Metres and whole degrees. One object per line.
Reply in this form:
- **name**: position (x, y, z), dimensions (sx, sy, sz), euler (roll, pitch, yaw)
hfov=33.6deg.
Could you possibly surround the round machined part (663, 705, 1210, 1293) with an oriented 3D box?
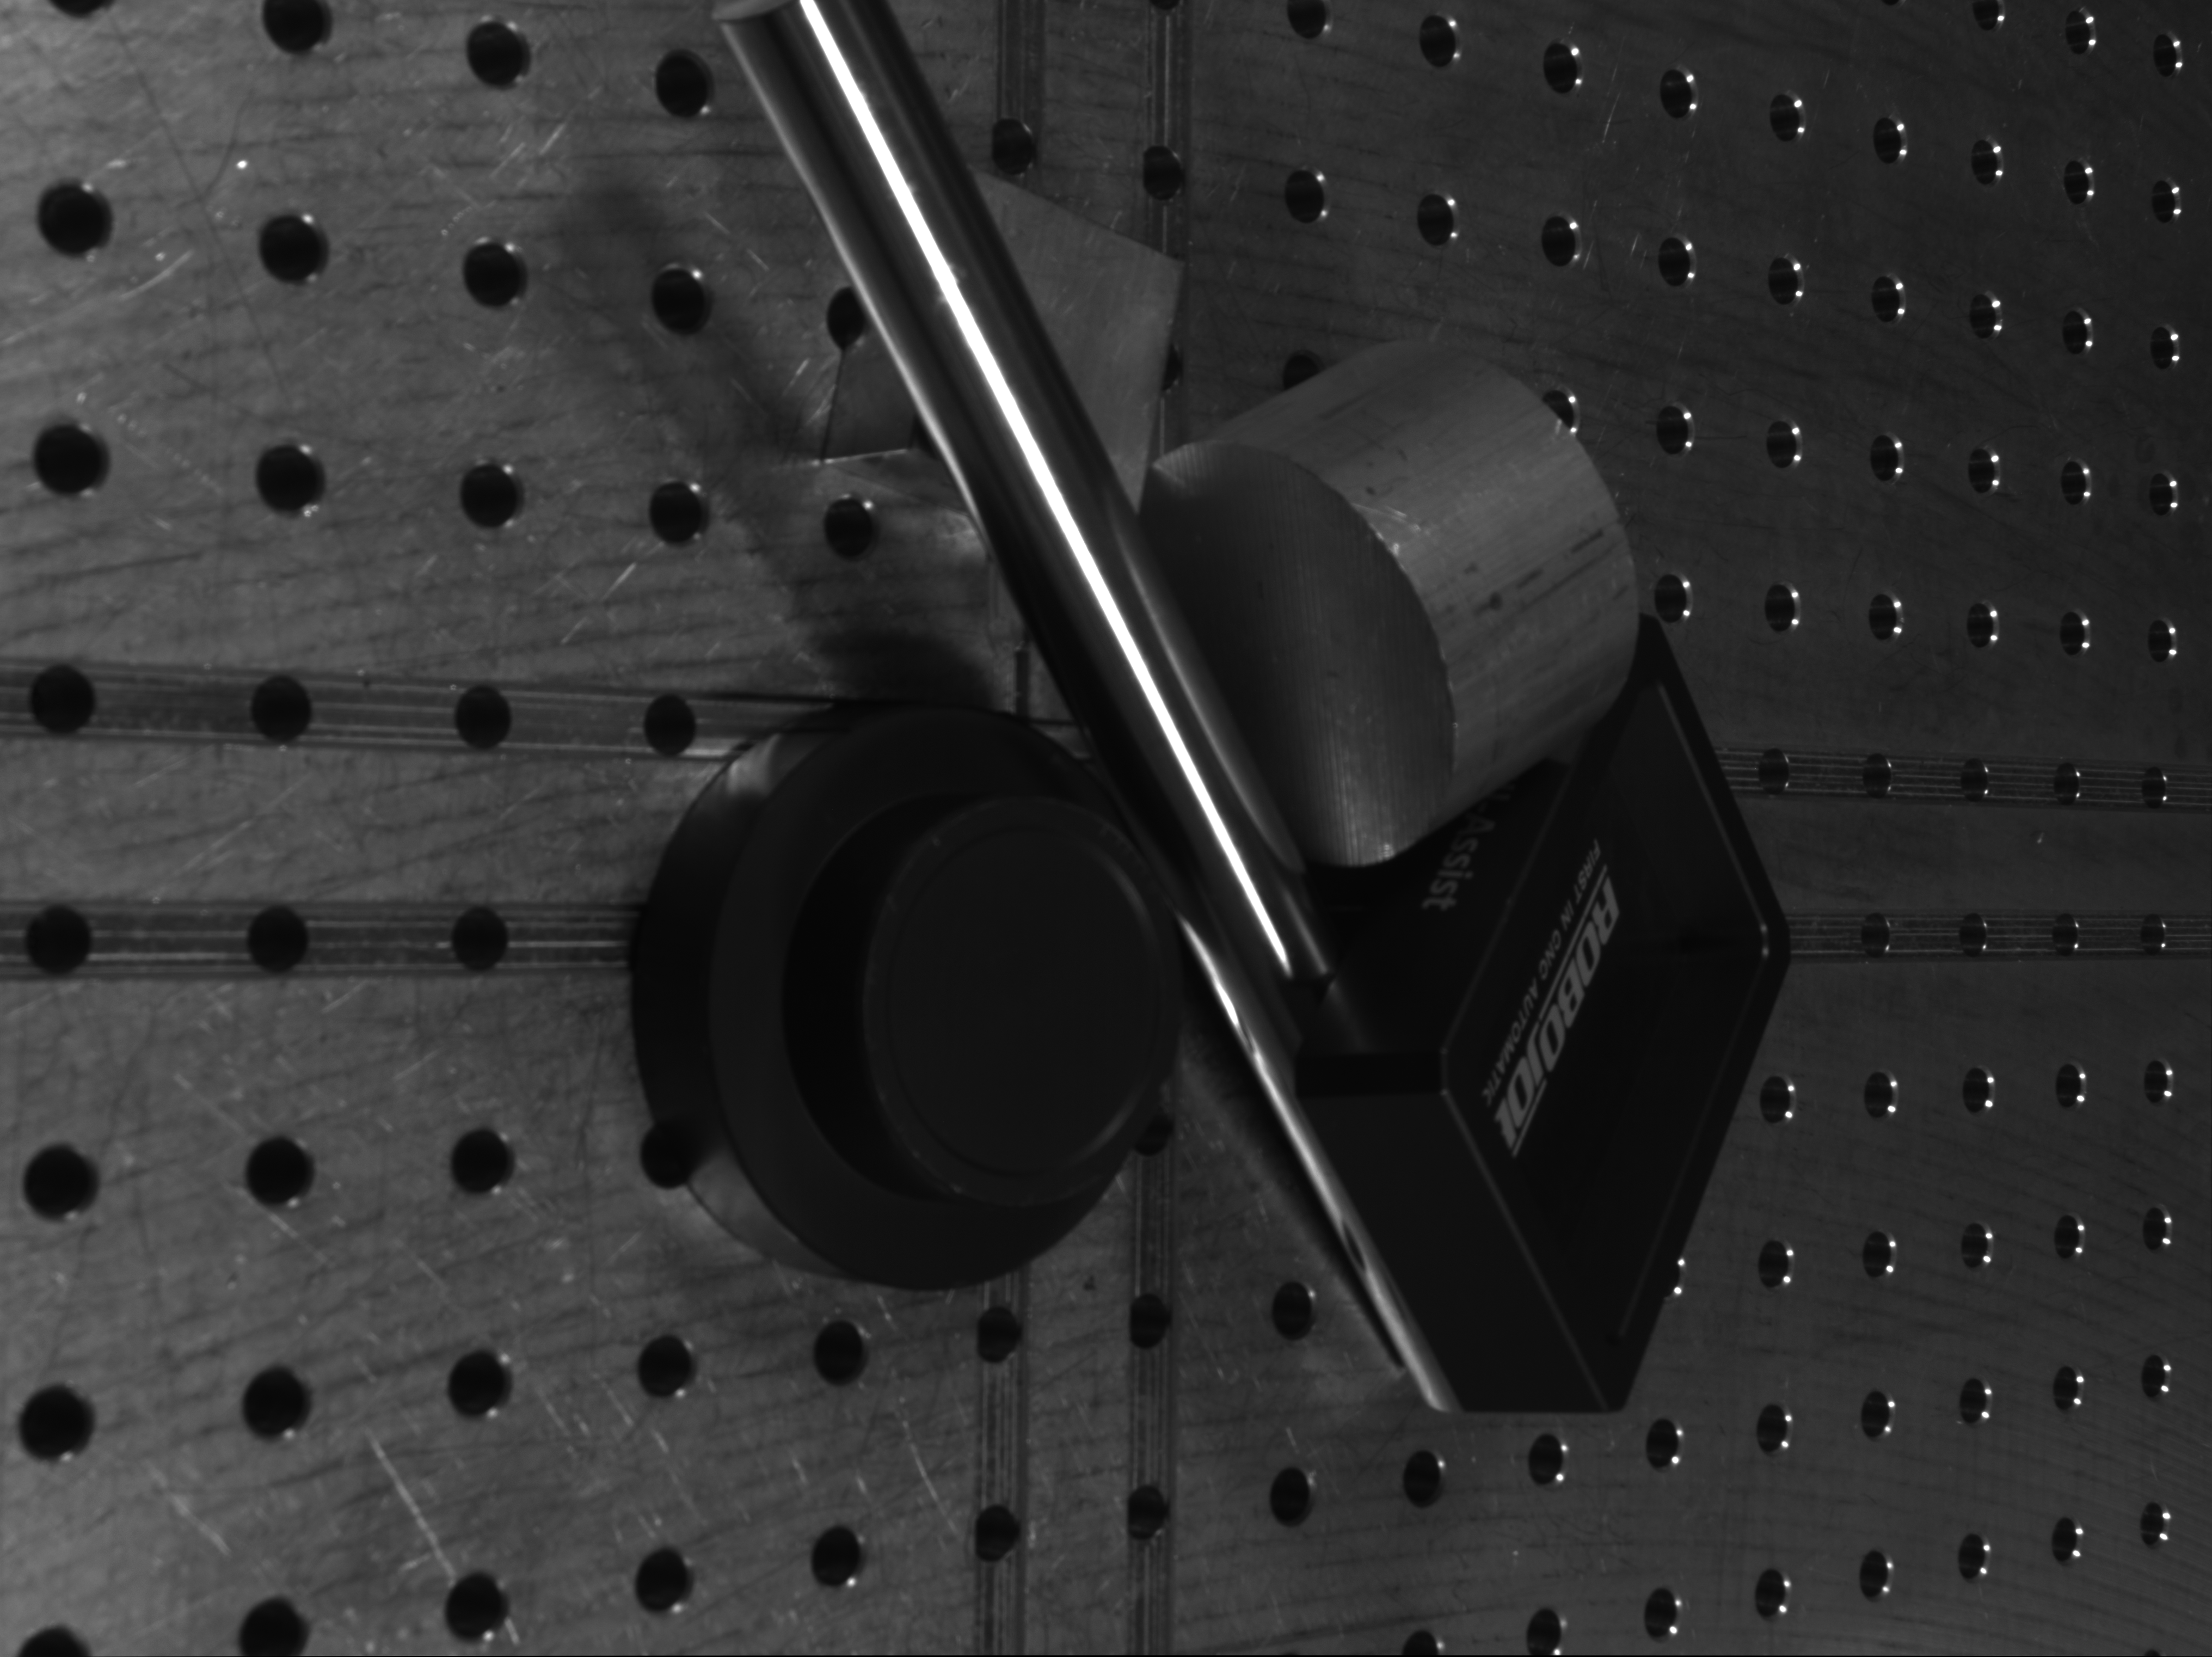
- **round machined part**: position (-0.021, 0.028, 0.610), dimensions (0.098, 0.042, 0.098), euler (0, 90, -40)

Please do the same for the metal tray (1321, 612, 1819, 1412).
- **metal tray**: position (0.090, 0.033, 0.685), dimensions (0.090, 0.030, 0.130), euler (61, 40, -31)

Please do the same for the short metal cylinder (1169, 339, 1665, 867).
- **short metal cylinder**: position (0.051, -0.040, 0.647), dimensions (0.050, 0.080, 0.080), euler (-31, 109, -35)

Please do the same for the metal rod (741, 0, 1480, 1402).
- **metal rod**: position (0.015, -0.014, 0.631), dimensions (0.025, 0.025, 0.300), euler (-47, 126, -30)

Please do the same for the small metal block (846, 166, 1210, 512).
- **small metal block**: position (-0.013, -0.081, 0.630), dimensions (0.050, 0.025, 0.050), euler (17, 79, -38)
